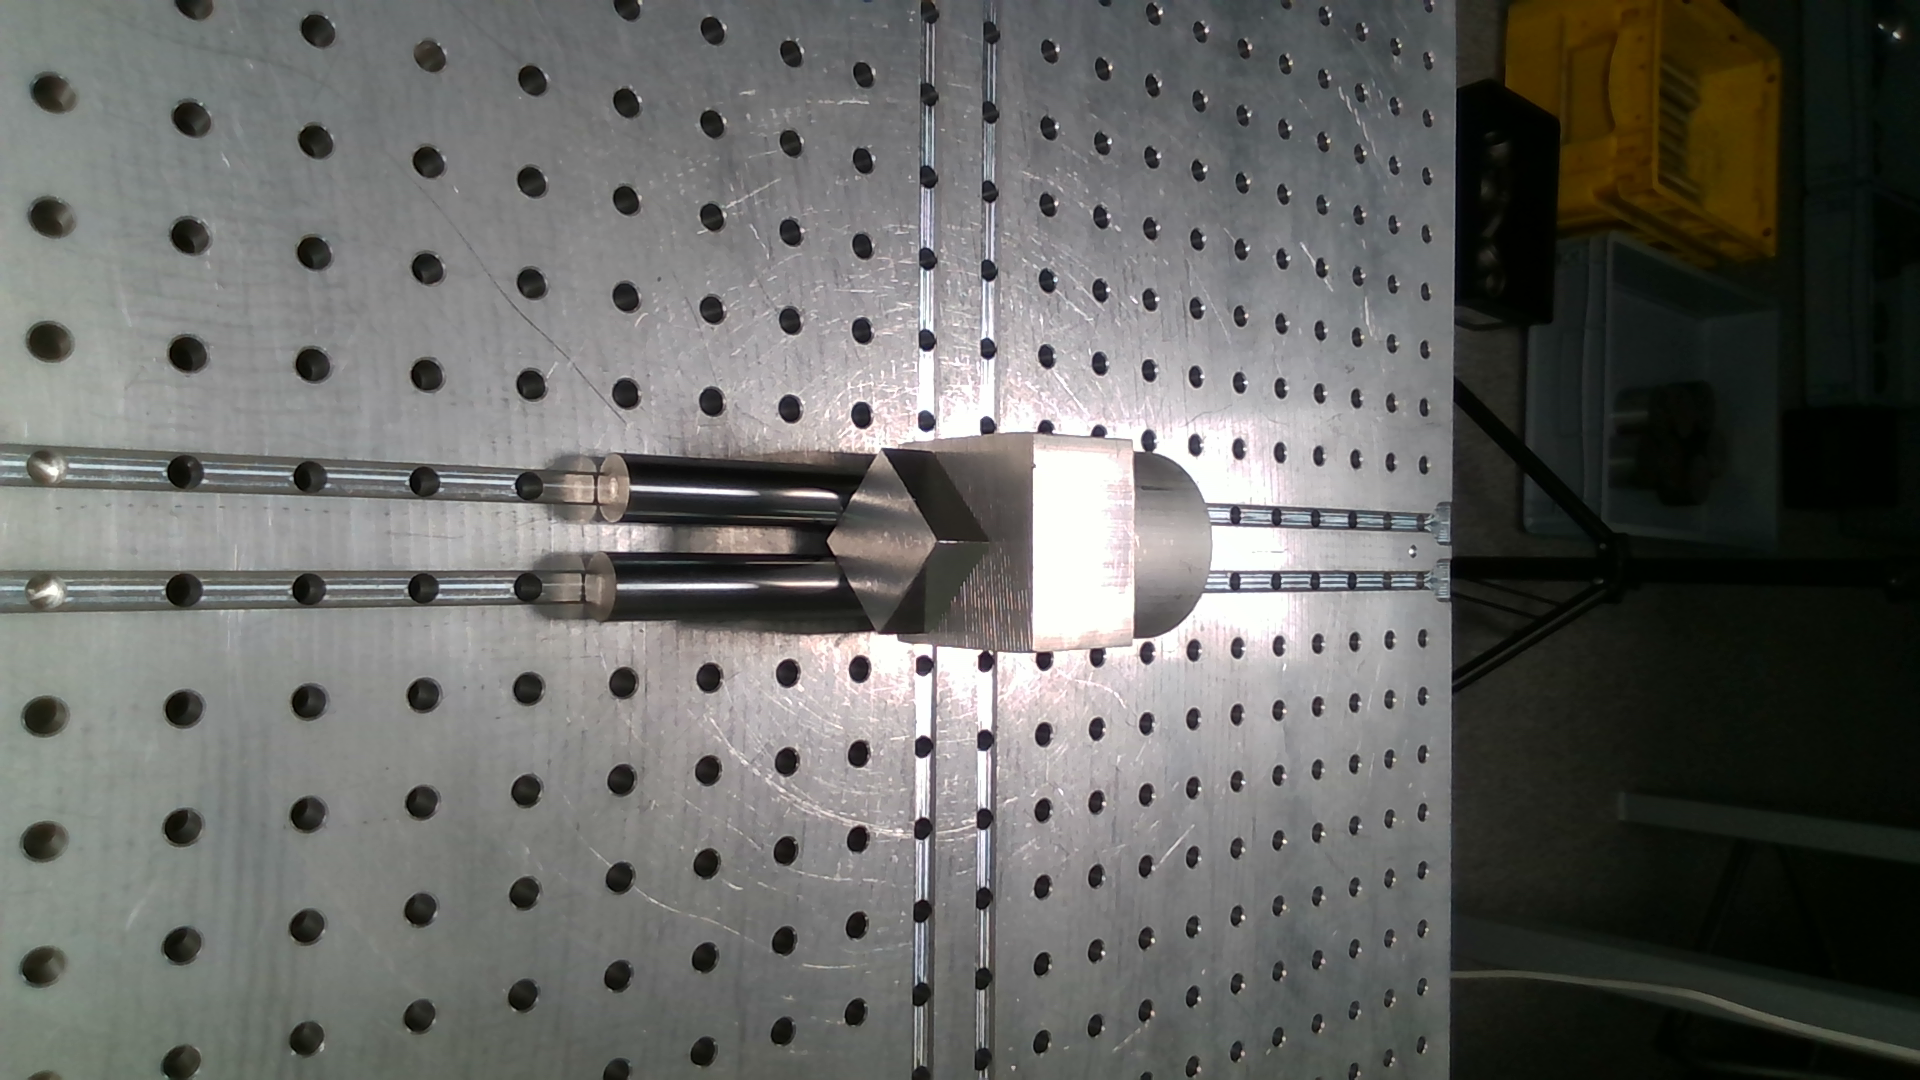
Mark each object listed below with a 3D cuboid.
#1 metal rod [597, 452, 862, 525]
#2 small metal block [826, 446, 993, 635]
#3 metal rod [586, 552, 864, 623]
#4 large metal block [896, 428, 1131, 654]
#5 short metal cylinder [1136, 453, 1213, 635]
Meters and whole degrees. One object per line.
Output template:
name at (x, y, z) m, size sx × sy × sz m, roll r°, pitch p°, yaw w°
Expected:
metal rod at (-0.007, -0.017, 0.581) m, size 0.300 × 0.025 × 0.025 m, roll 1°, pitch 89°, yaw -40°
small metal block at (-0.020, 0.000, 0.523) m, size 0.025 × 0.050 × 0.050 m, roll 1°, pitch 134°, yaw -40°
metal rod at (-0.011, 0.019, 0.579) m, size 0.300 × 0.025 × 0.025 m, roll 1°, pitch 89°, yaw -40°
large metal block at (0.019, 0.001, 0.534) m, size 0.050 × 0.080 × 0.080 m, roll 0°, pitch 90°, yaw -40°
short metal cylinder at (0.057, 0.002, 0.571) m, size 0.050 × 0.080 × 0.080 m, roll 1°, pitch 89°, yaw -40°
